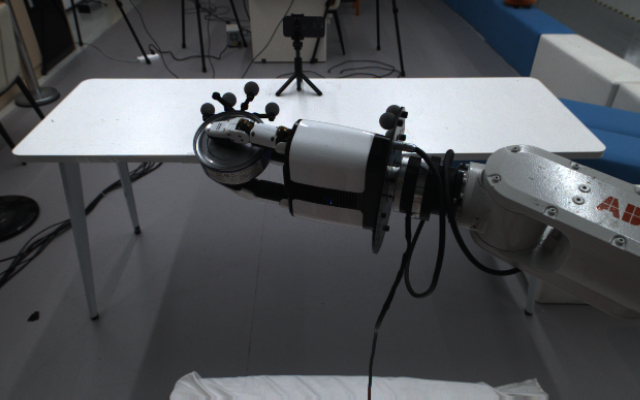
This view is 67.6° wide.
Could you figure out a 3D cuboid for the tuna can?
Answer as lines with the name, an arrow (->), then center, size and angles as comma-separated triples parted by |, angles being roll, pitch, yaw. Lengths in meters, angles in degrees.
tuna can -> -0.098, -0.056, 0.558 | 0.085, 0.034, 0.085 | -1, 58, 2
